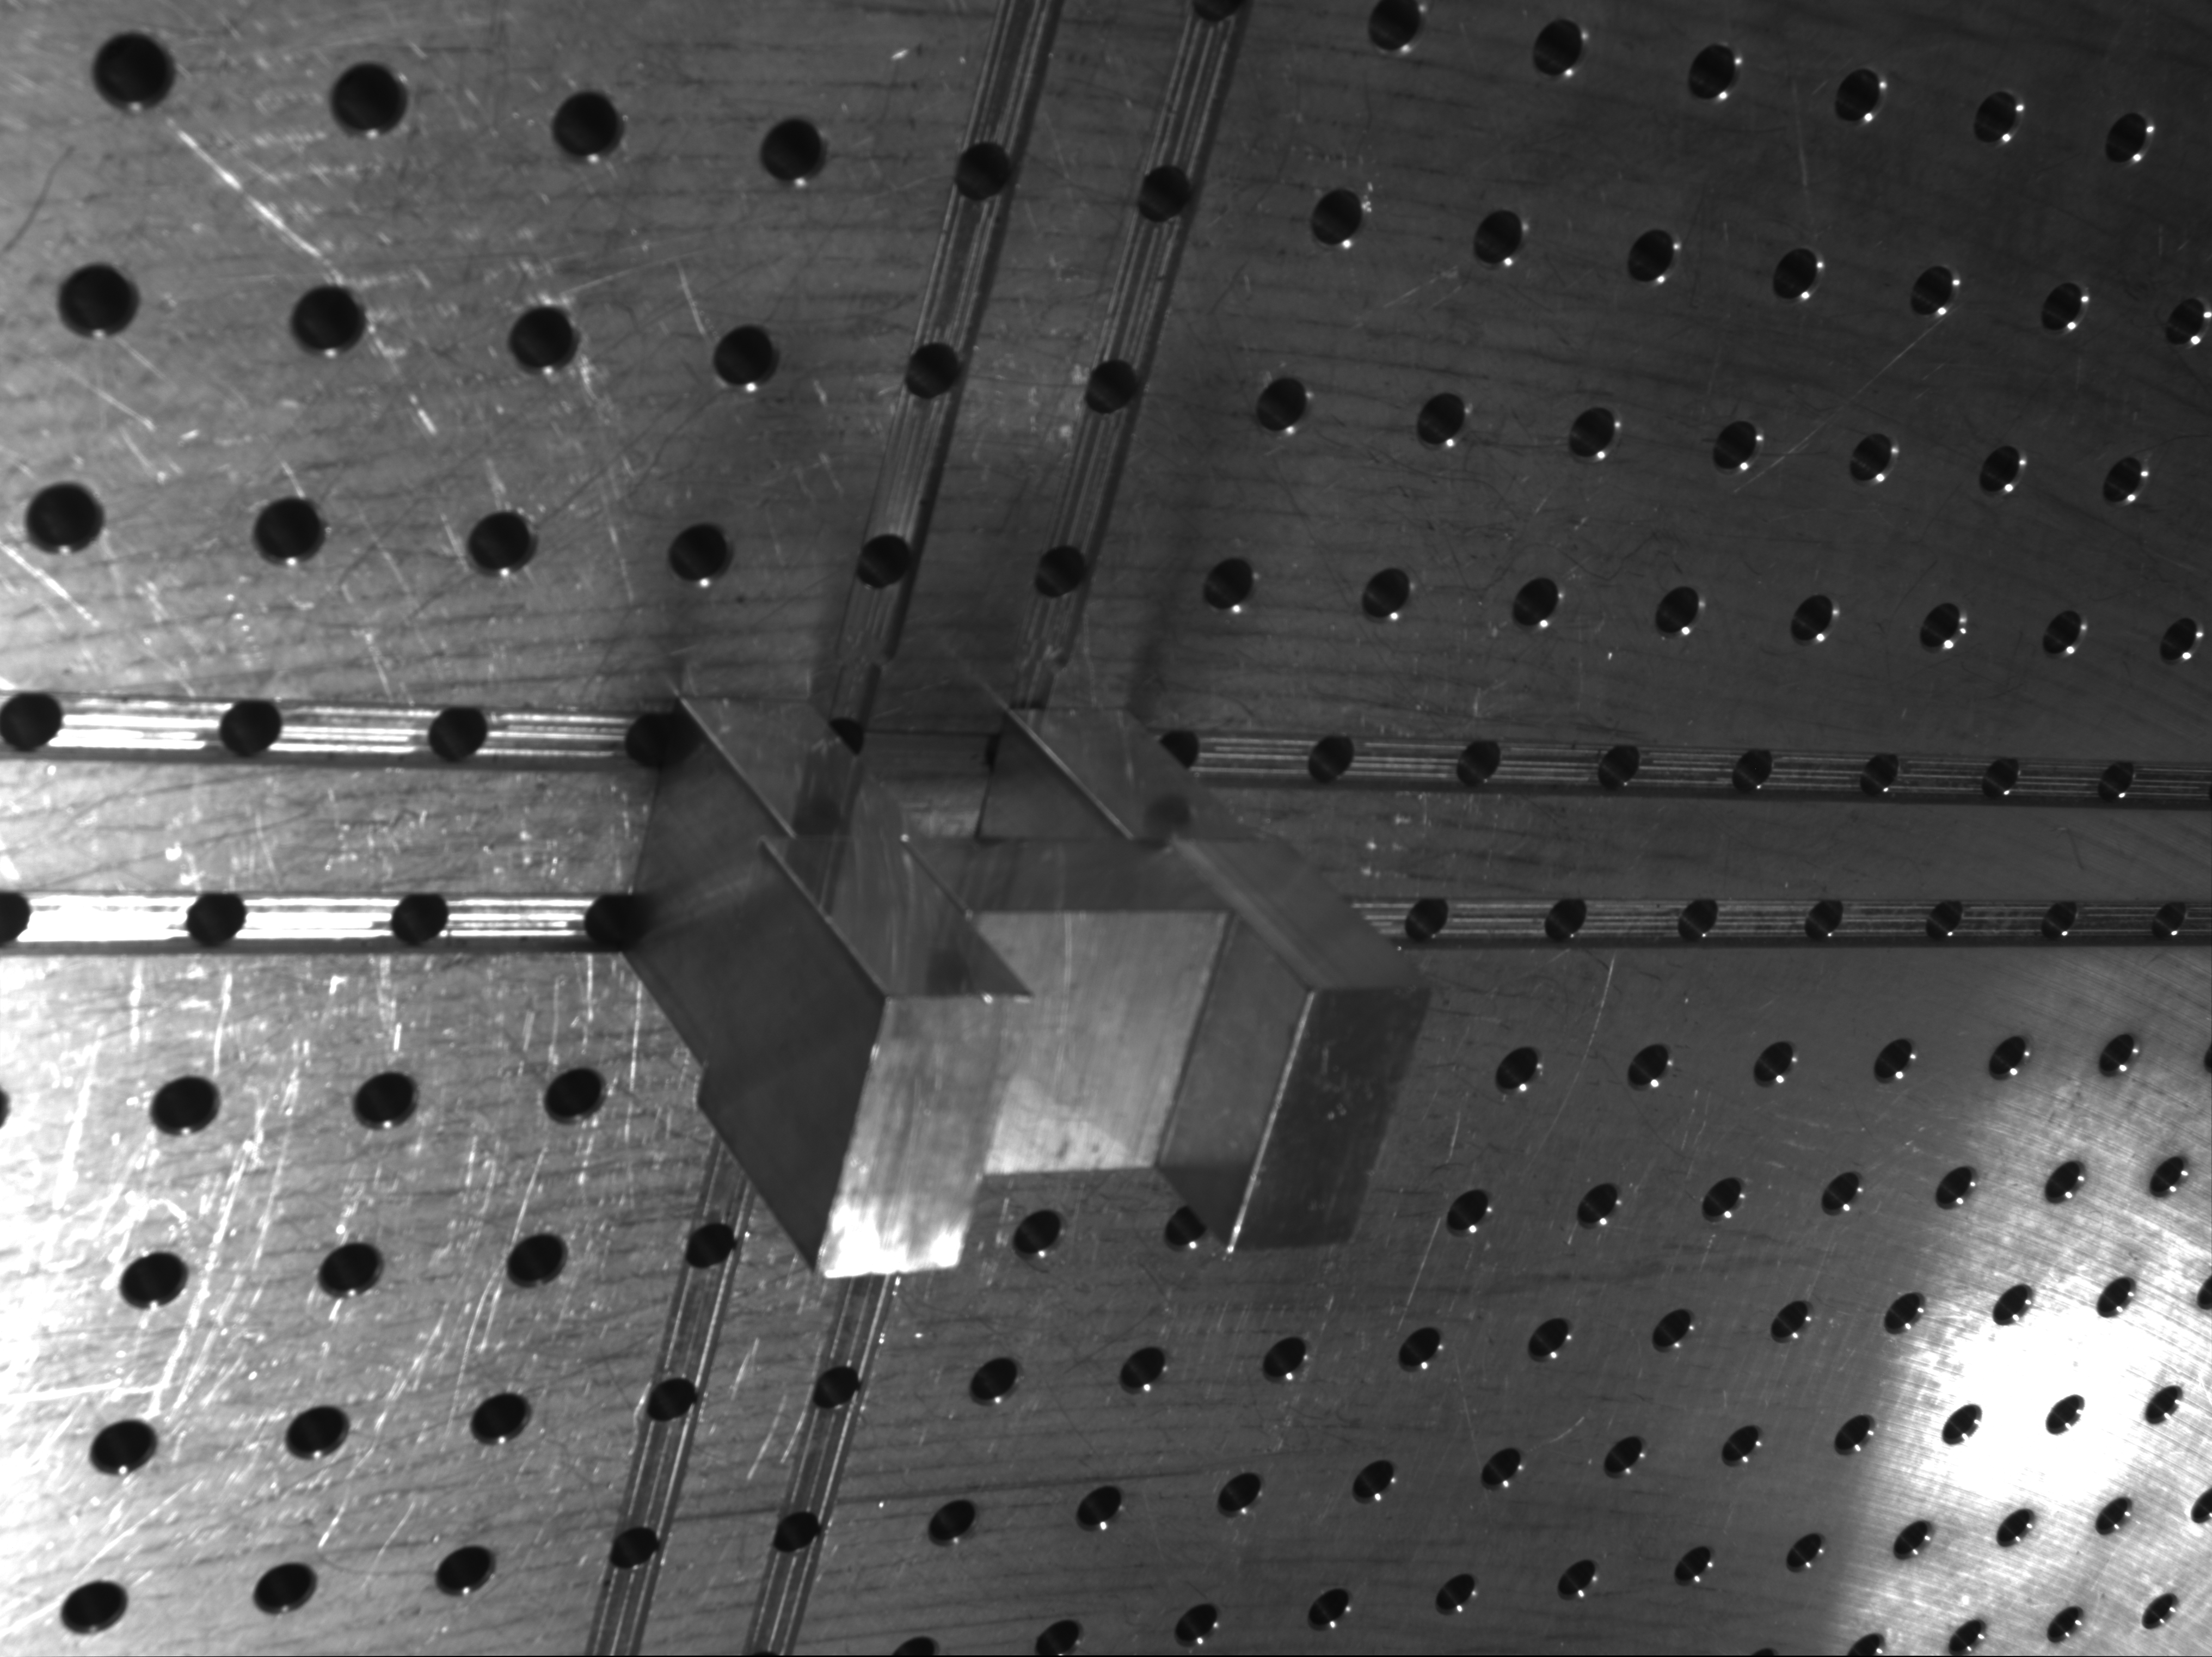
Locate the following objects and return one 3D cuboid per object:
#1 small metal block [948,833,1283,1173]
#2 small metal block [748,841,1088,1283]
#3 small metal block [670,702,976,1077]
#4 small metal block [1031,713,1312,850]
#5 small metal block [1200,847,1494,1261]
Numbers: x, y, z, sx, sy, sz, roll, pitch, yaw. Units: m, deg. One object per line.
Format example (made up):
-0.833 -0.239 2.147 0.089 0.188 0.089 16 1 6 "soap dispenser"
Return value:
-0.004 0.029 0.605 0.050 0.025 0.050 1 118 -31 "small metal block"
-0.031 0.036 0.575 0.025 0.050 0.050 1 117 -30 "small metal block"
-0.048 0.013 0.616 0.025 0.050 0.050 1 118 -31 "small metal block"
0.008 0.013 0.650 0.025 0.050 0.050 -1 118 -30 "small metal block"
0.035 0.037 0.613 0.025 0.050 0.050 1 117 -30 "small metal block"
